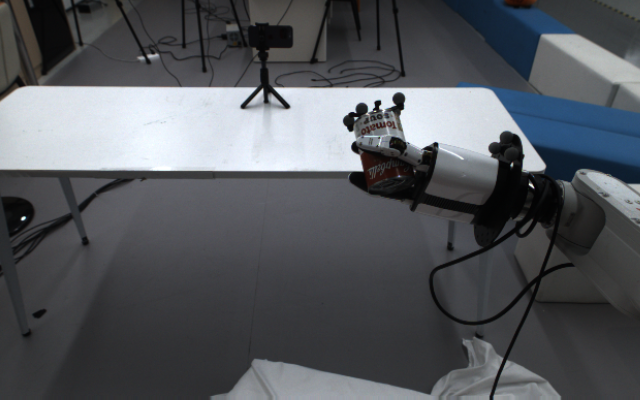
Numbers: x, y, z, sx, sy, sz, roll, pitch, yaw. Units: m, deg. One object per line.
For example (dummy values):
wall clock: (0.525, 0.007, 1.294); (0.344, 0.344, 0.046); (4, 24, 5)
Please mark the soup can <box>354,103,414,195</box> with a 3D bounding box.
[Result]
soup can: (0.089, -0.066, 0.672); (0.067, 0.067, 0.101); (-8, 74, -14)
